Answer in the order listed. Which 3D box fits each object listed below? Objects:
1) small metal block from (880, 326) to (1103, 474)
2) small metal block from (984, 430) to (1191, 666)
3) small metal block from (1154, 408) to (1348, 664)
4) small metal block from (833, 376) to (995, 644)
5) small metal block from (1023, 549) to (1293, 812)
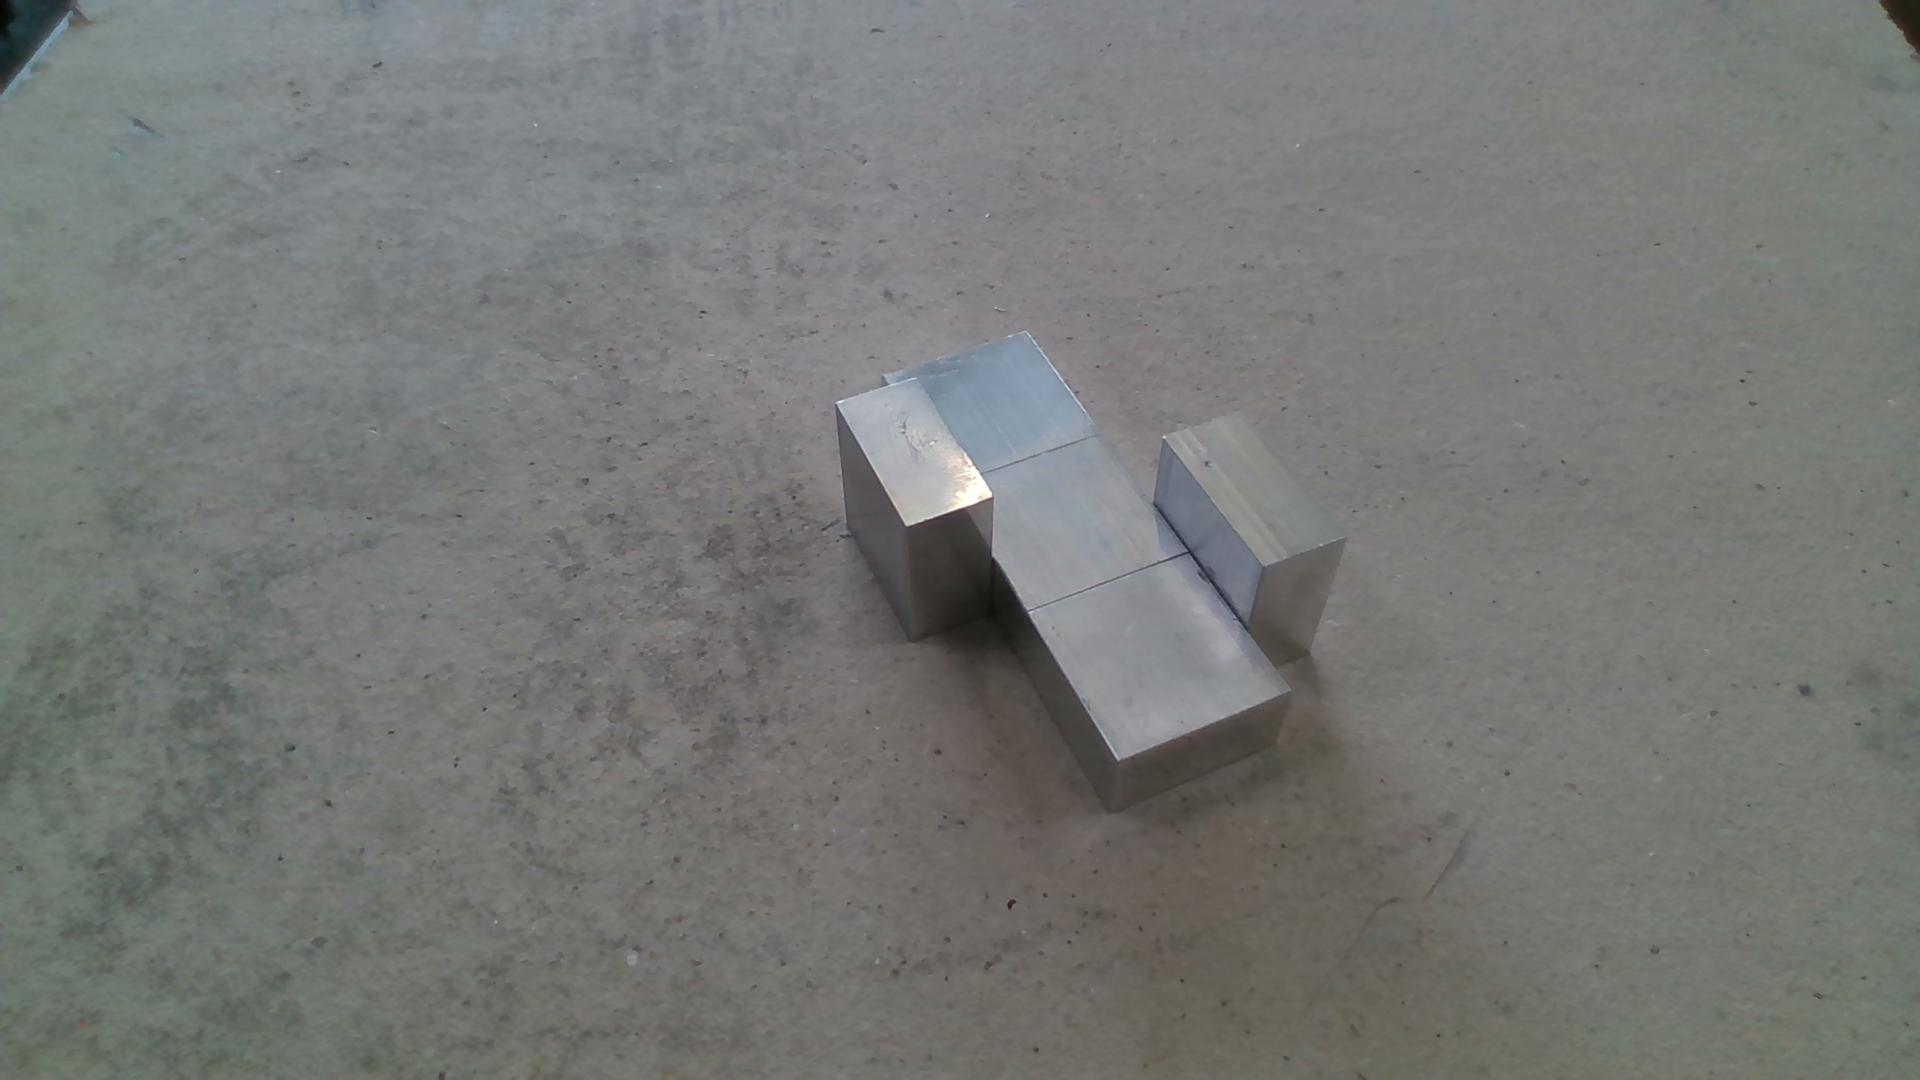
[{"bbox_3d":[0.009,-0.034,0.421,0.050,0.025,0.050,-20,53,-15],"label":"small metal block"},{"bbox_3d":[0.030,0.001,0.392,0.050,0.025,0.050,-20,53,-15],"label":"small metal block"},{"bbox_3d":[0.076,0.002,0.376,0.025,0.050,0.050,-19,52,-15],"label":"small metal block"},{"bbox_3d":[-0.013,-0.008,0.385,0.025,0.050,0.050,-19,52,-16],"label":"small metal block"},{"bbox_3d":[0.051,0.036,0.363,0.050,0.025,0.050,-20,53,-15],"label":"small metal block"}]
